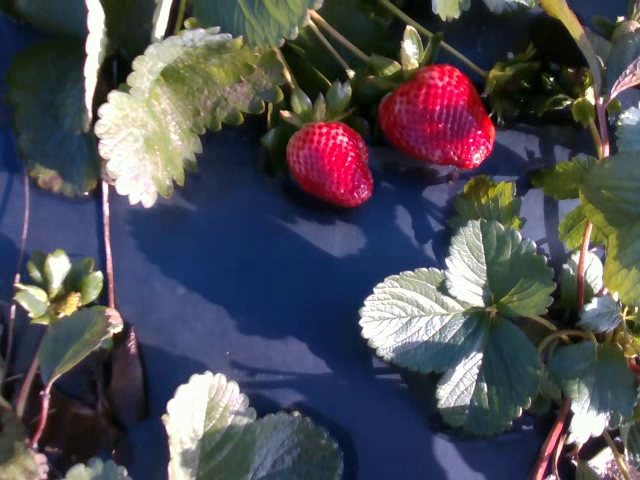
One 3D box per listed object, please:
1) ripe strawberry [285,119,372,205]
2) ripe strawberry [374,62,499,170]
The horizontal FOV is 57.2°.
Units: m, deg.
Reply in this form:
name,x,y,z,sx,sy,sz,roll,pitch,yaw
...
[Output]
name,x,y,z,sx,sy,sz,roll,pitch,yaw
ripe strawberry,0.007,-0.031,0.256,0.052,0.043,0.036,48,19,24
ripe strawberry,0.058,-0.052,0.263,0.052,0.058,0.046,-42,-25,13
